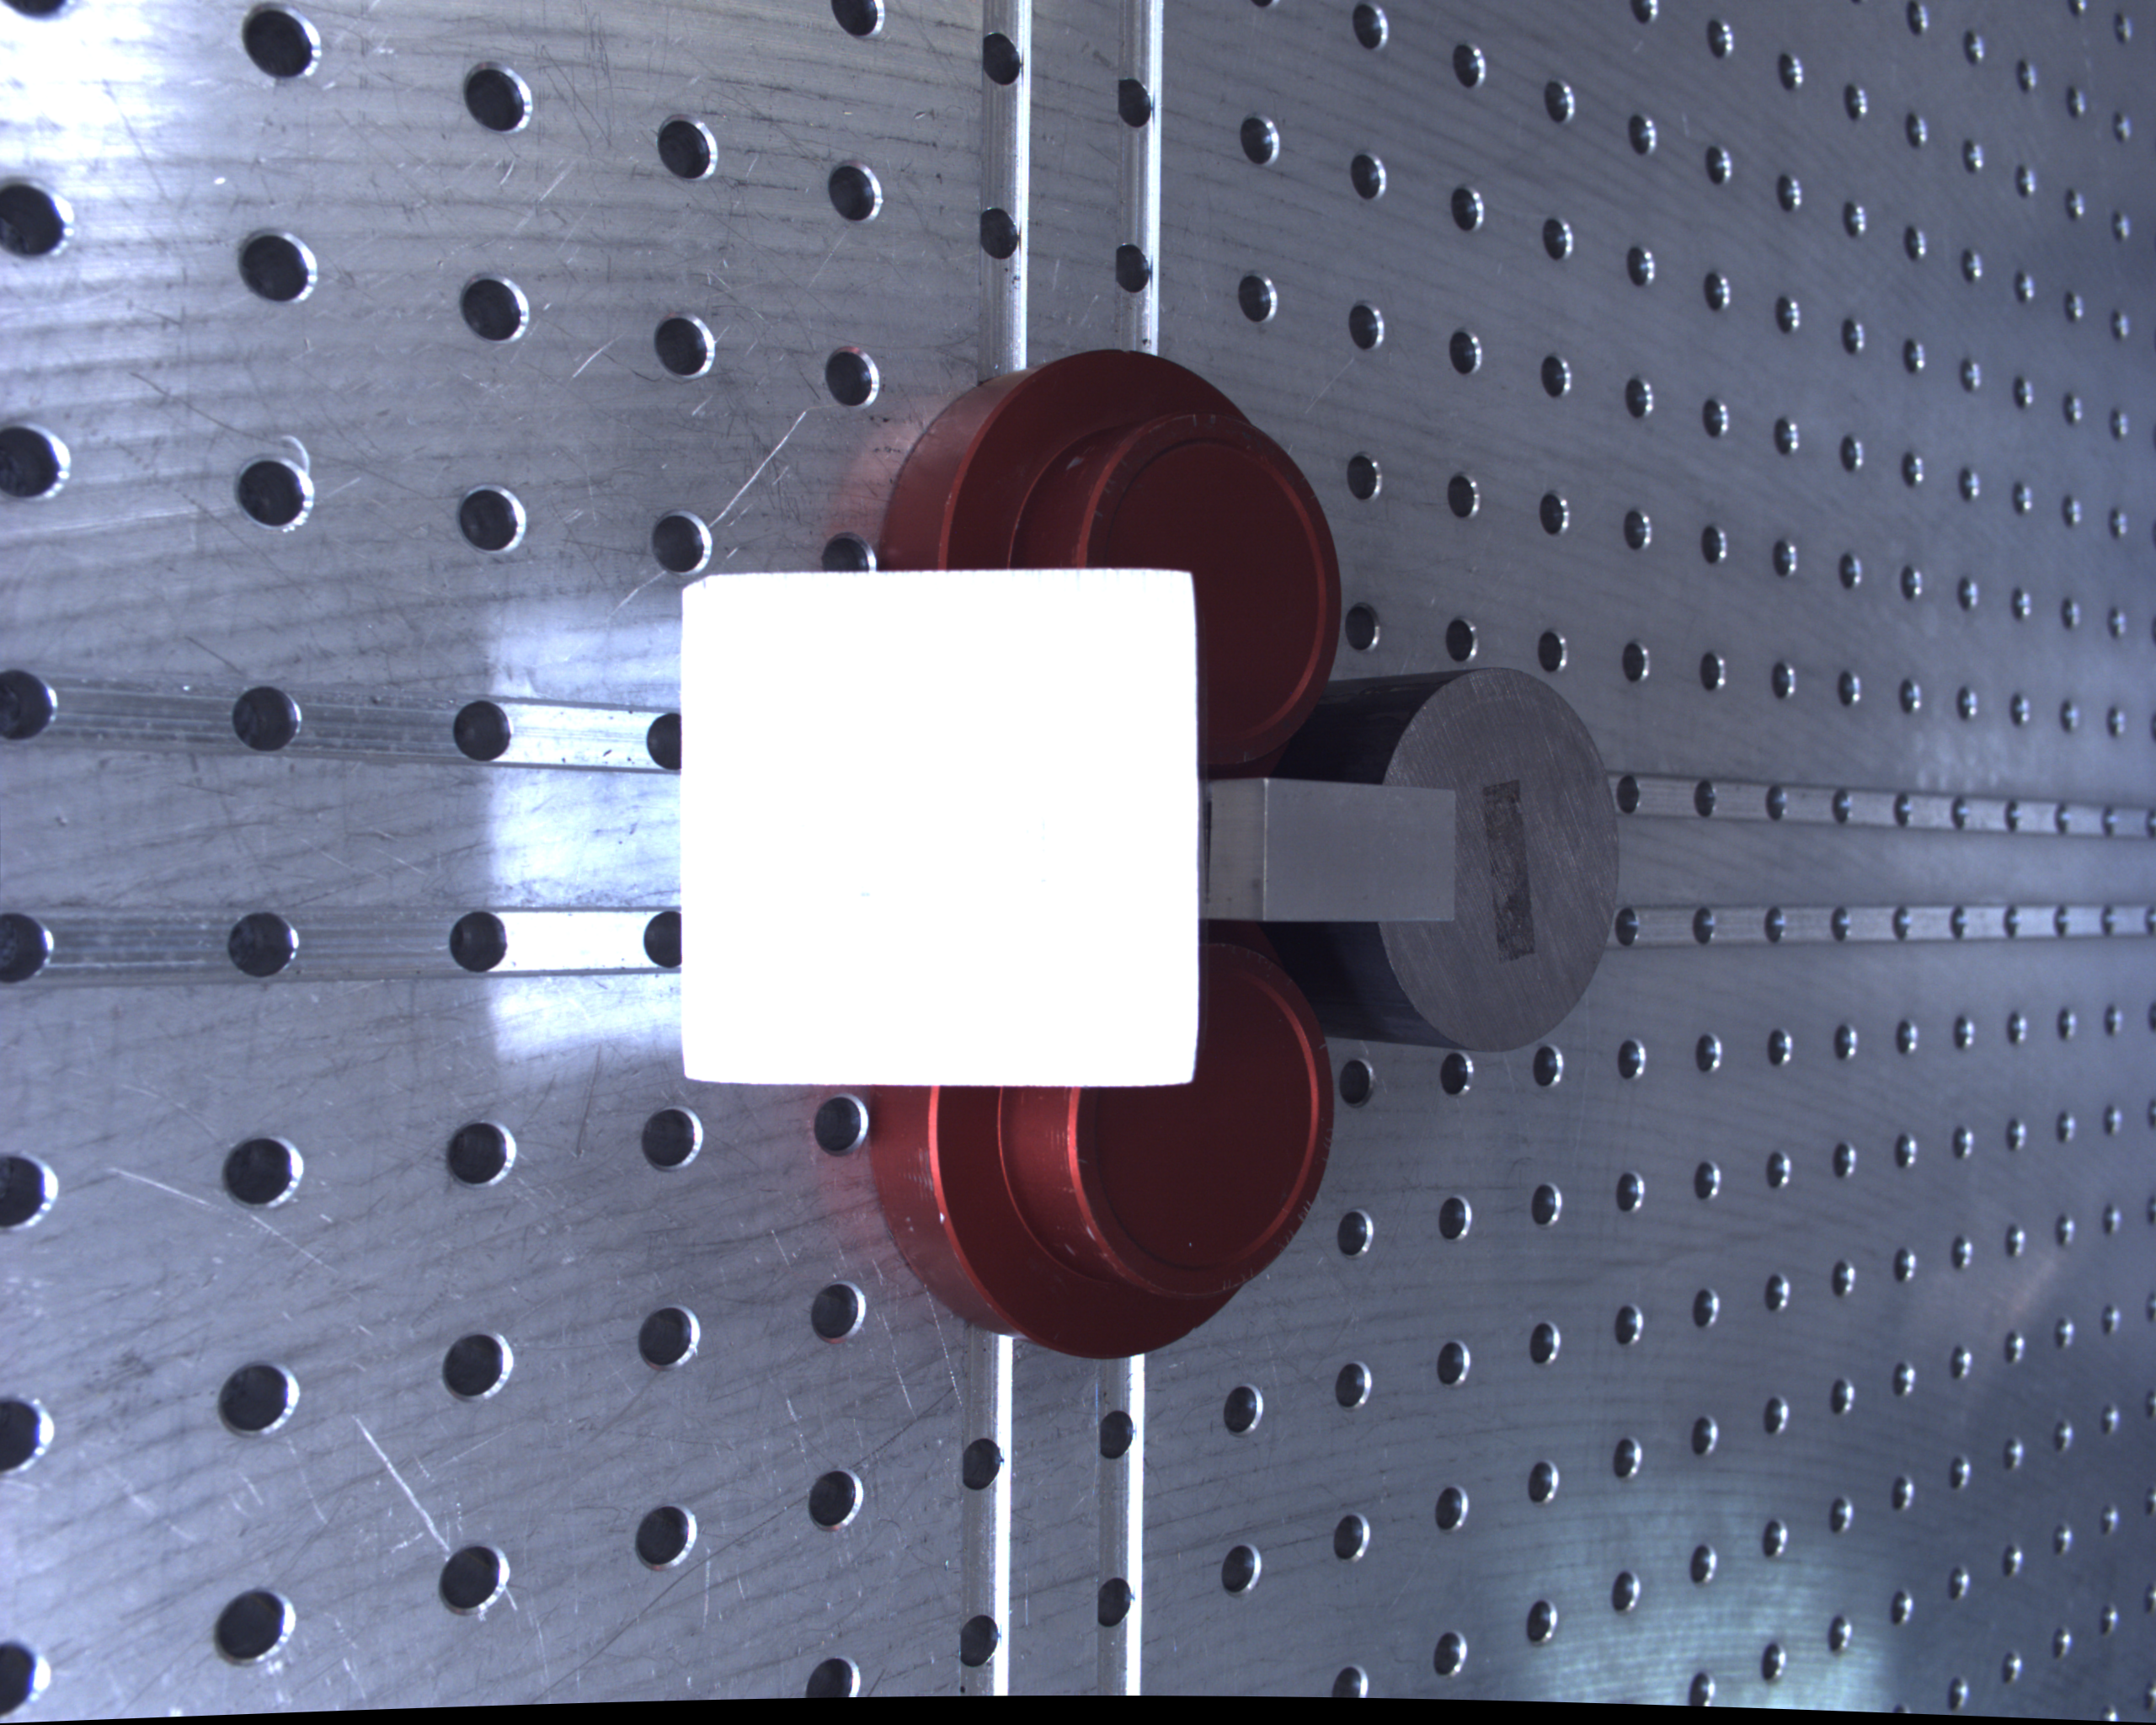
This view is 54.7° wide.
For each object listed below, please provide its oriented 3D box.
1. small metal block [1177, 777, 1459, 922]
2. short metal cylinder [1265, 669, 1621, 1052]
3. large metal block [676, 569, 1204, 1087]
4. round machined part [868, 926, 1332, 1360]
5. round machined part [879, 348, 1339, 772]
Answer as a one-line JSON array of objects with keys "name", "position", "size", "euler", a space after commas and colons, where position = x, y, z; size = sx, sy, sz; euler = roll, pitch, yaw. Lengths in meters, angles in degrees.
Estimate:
[{"name": "small metal block", "position": [0.036, -0.002, 0.394], "size": [0.050, 0.050, 0.025], "euler": [2, 89, -40]}, {"name": "short metal cylinder", "position": [0.073, -0.001, 0.452], "size": [0.081, 0.050, 0.080], "euler": [0, 90, -40]}, {"name": "large metal block", "position": [-0.020, -0.006, 0.349], "size": [0.050, 0.080, 0.080], "euler": [-6, 96, -85]}, {"name": "round machined part", "position": [0.011, 0.048, 0.408], "size": [0.099, 0.042, 0.097], "euler": [0, 90, -40]}, {"name": "round machined part", "position": [0.013, -0.052, 0.409], "size": [0.099, 0.042, 0.097], "euler": [0, 90, -40]}]
